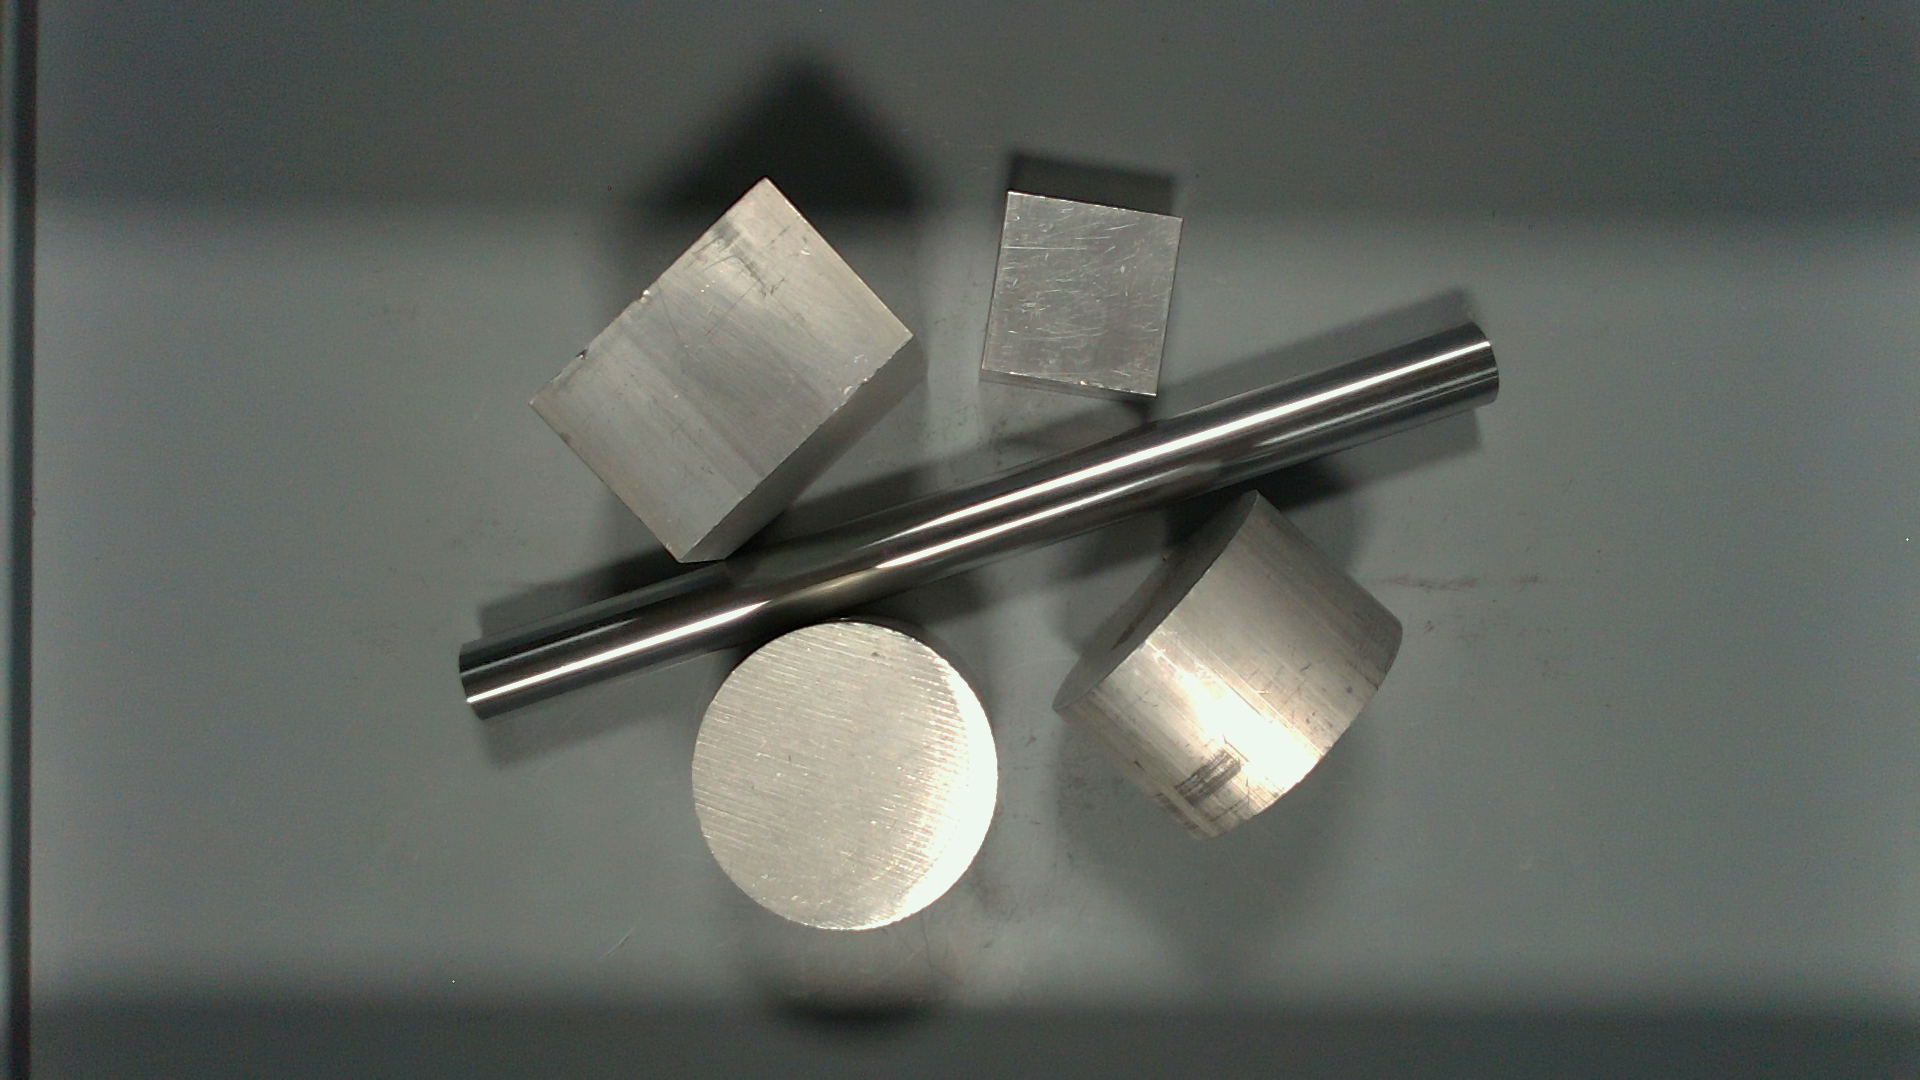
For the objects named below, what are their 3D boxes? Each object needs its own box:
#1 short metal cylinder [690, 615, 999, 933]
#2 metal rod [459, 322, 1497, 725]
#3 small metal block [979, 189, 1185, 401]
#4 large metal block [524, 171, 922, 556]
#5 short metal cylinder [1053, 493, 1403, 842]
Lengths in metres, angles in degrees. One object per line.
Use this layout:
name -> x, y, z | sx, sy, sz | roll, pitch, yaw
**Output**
short metal cylinder -> -0.030, 0.062, 0.381 | 0.080, 0.050, 0.080 | 0, 90, 0
metal rod -> 0.005, -0.005, 0.395 | 0.300, 0.025, 0.025 | -18, 90, 0
small metal block -> 0.034, -0.069, 0.394 | 0.050, 0.025, 0.050 | 9, 90, 0
large metal block -> -0.057, -0.042, 0.367 | 0.080, 0.080, 0.050 | -44, 90, 0
short metal cylinder -> 0.070, 0.033, 0.368 | 0.050, 0.080, 0.080 | 42, 90, 0
